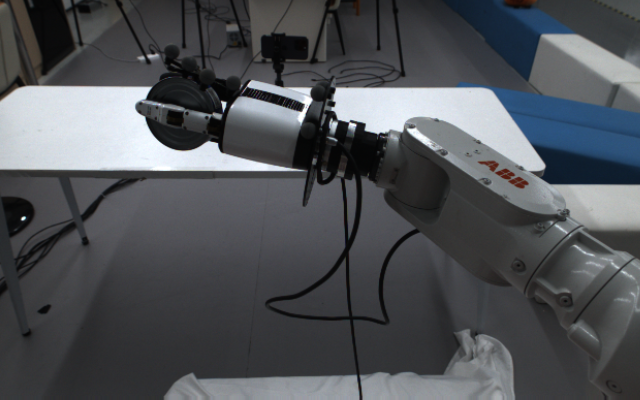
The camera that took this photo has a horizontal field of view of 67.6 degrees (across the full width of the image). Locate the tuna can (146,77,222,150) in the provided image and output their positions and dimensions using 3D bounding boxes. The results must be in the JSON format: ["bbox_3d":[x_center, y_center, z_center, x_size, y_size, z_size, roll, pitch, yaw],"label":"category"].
[{"bbox_3d":[-0.160,-0.105,0.576,0.085,0.085,0.034,7,17,6],"label":"tuna can"}]
